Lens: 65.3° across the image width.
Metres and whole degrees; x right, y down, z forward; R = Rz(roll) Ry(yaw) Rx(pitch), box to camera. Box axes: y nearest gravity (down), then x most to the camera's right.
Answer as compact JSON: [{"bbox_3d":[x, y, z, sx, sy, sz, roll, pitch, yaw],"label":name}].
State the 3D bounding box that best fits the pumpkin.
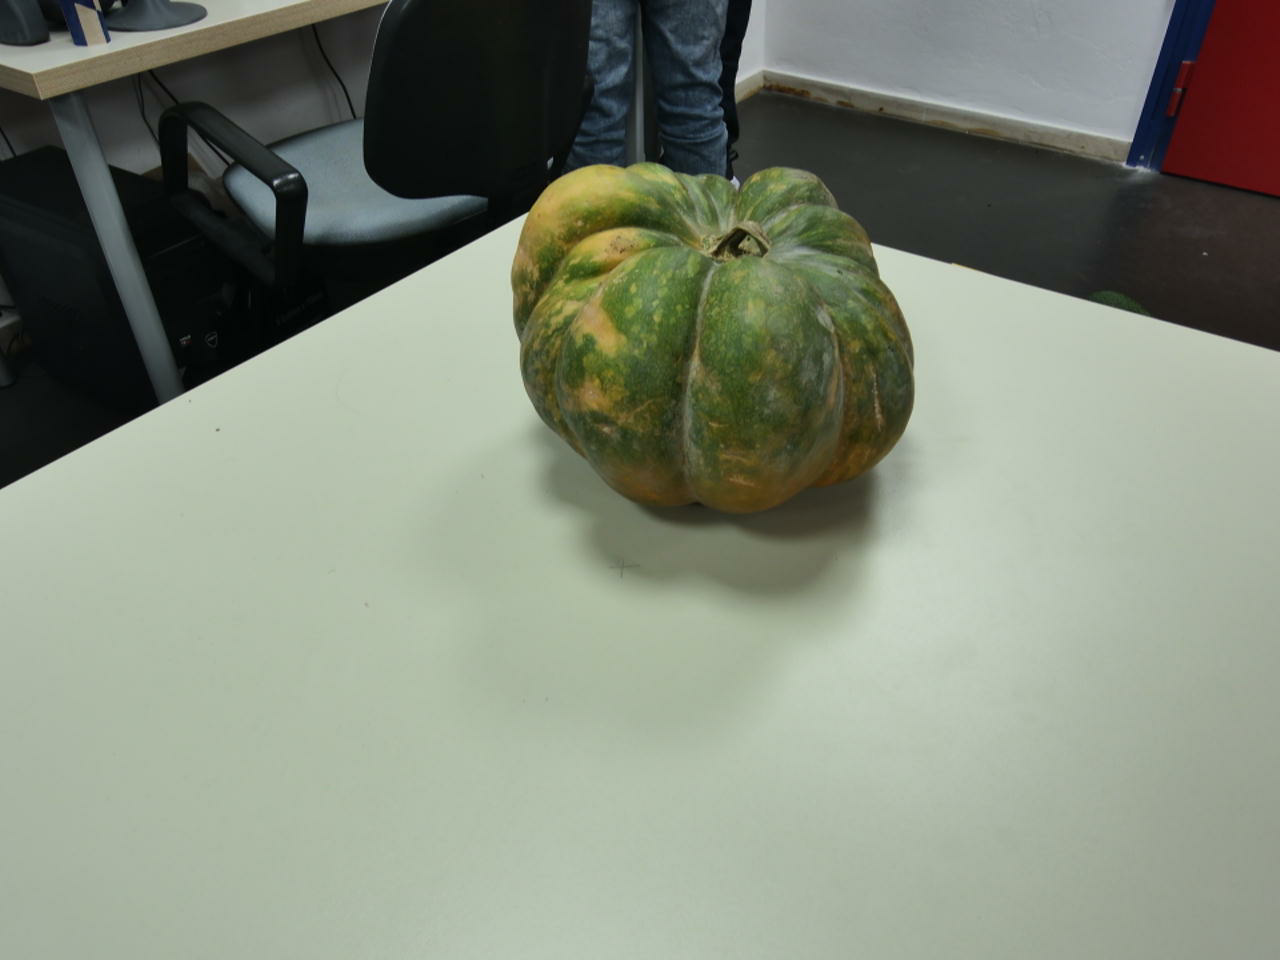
[{"bbox_3d":[0.045,-0.093,0.603,0.237,0.173,0.270,-10,39,-12],"label":"pumpkin"}]
